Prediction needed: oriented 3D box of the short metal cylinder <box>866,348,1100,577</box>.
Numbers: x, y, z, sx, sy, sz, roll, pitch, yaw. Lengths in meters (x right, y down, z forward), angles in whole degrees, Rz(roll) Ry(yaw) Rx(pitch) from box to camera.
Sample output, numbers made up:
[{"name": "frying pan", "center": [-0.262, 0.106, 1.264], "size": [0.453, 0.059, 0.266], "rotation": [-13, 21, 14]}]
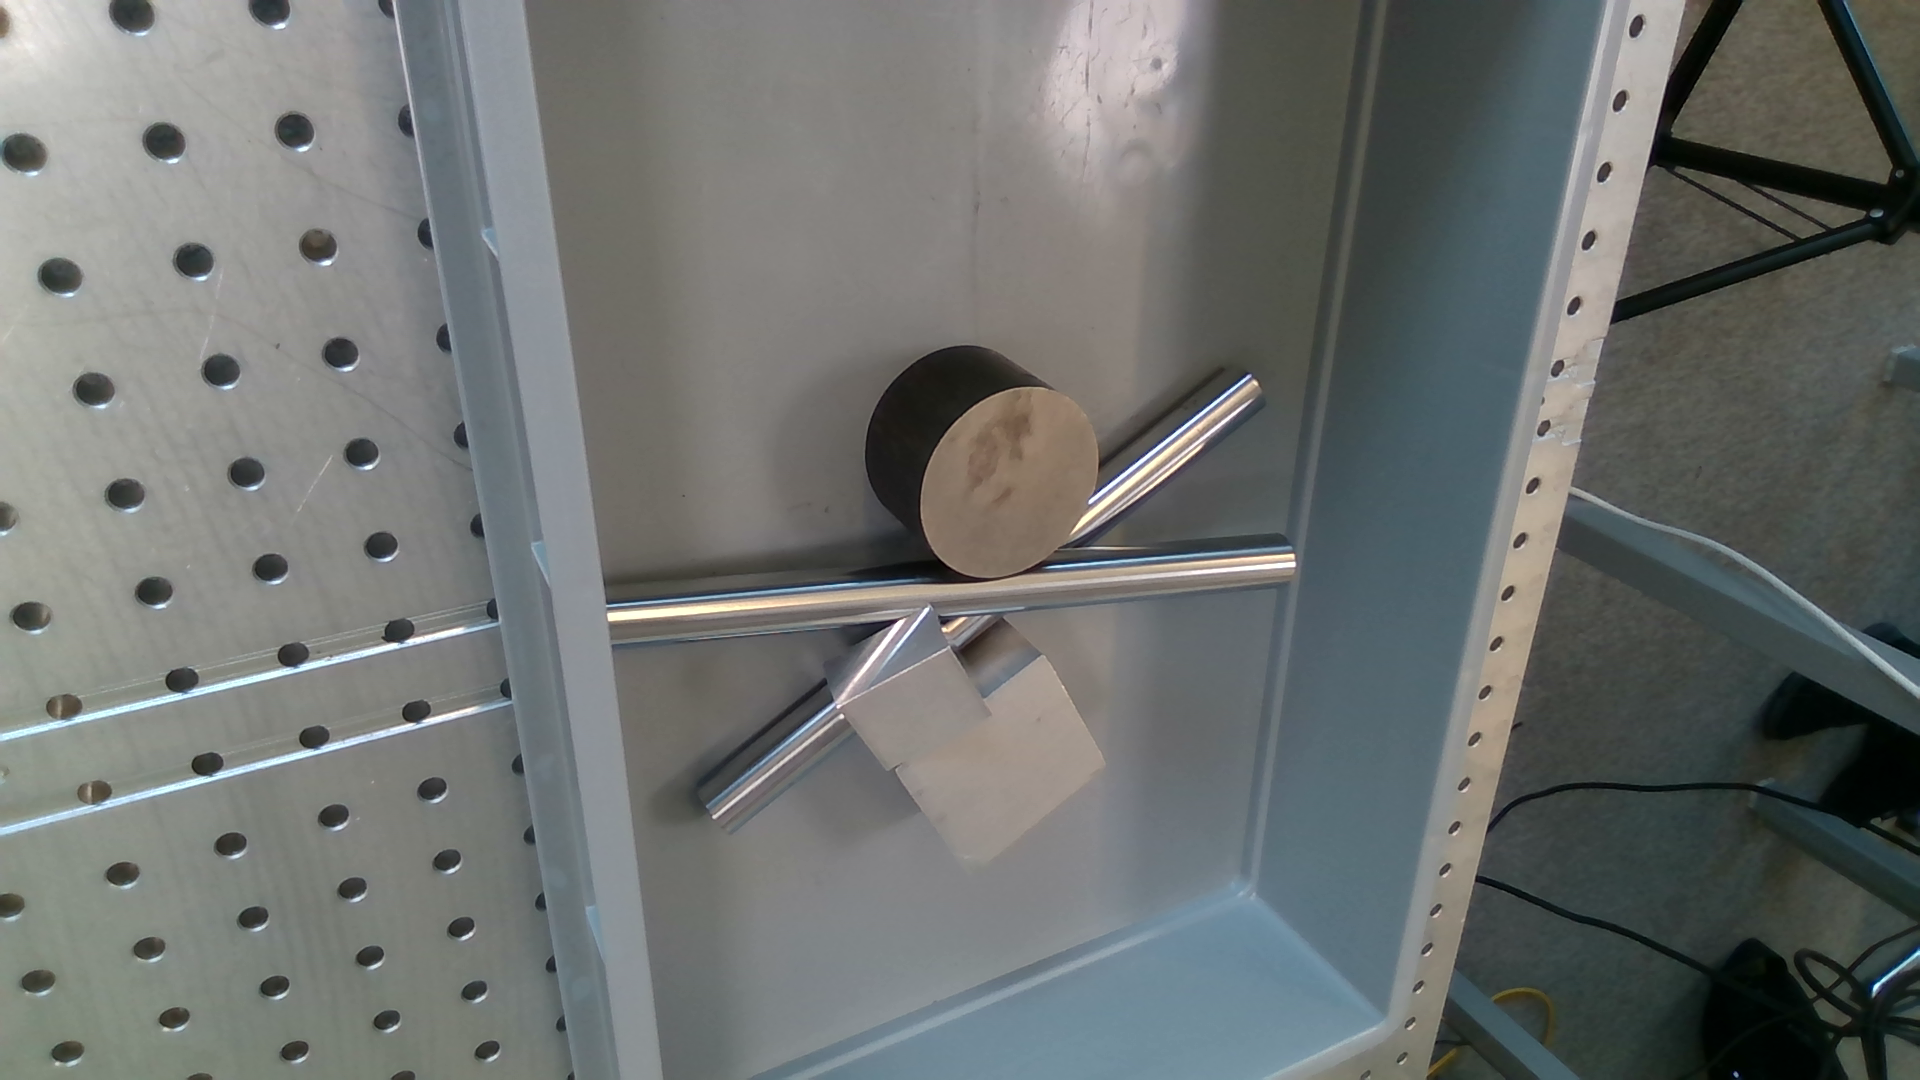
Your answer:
[{"name": "short metal cylinder", "center": [0.009, -0.032, 0.552], "size": [0.080, 0.050, 0.080], "rotation": [-15, 122, -25]}]

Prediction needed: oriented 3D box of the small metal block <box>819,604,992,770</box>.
[{"name": "small metal block", "center": [-0.021, 0.060, 0.558], "size": [0.050, 0.025, 0.050], "rotation": [-28, 136, 2]}]

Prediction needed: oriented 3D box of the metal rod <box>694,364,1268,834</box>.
[{"name": "metal rod", "center": [0.013, 0.022, 0.599], "size": [0.300, 0.025, 0.025], "rotation": [-38, 128, -8]}]

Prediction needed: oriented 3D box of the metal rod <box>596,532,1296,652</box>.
[{"name": "metal rod", "center": [0.004, 0.019, 0.567], "size": [0.300, 0.025, 0.025], "rotation": [-4, 117, -21]}]

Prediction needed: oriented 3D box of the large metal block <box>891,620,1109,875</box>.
[{"name": "large metal block", "center": [0.009, 0.088, 0.616], "size": [0.080, 0.050, 0.080], "rotation": [-38, 128, -9]}]
